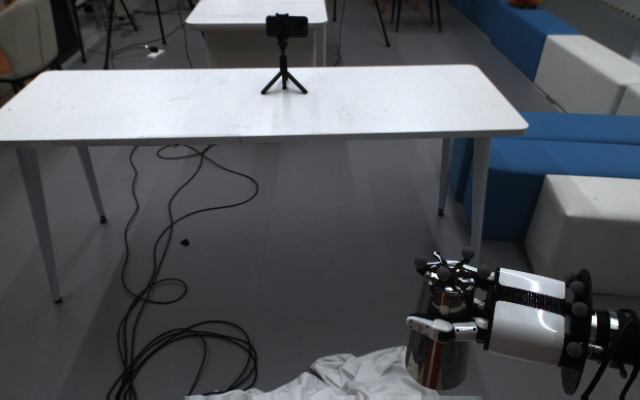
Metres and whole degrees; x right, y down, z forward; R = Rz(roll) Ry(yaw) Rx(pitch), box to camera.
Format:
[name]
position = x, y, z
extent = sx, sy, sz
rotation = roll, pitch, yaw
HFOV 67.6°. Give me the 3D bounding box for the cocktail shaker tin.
[cocktail shaker tin]
position = 0.177, 0.171, 0.684
extent = 0.093, 0.170, 0.093
rotation = -1, 32, 1
